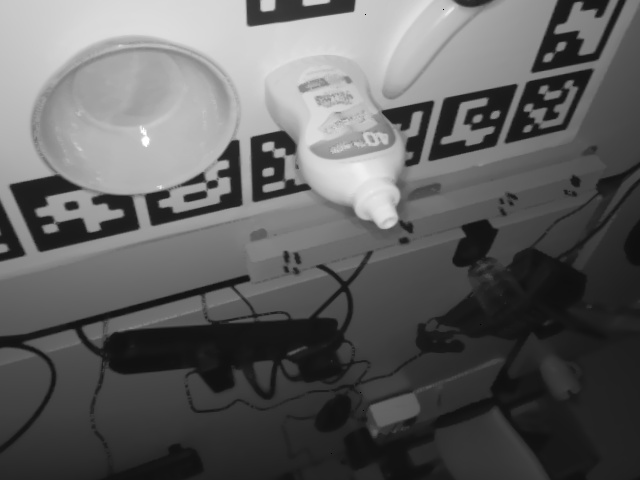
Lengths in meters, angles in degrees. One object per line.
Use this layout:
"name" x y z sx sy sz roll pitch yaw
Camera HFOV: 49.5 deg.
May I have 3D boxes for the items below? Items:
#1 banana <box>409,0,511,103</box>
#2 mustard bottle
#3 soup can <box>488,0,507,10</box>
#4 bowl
"banana" 0.157 -0.207 0.680 0.195 0.039 0.075 -40 153 20
"mustard bottle" 0.046 -0.086 0.614 0.097 0.191 0.058 -12 146 -18
"soup can" 0.144 -0.239 0.559 0.068 0.102 0.067 -15 146 -10
"bowl" -0.140 -0.123 0.592 0.163 0.055 0.160 -19 146 -12
